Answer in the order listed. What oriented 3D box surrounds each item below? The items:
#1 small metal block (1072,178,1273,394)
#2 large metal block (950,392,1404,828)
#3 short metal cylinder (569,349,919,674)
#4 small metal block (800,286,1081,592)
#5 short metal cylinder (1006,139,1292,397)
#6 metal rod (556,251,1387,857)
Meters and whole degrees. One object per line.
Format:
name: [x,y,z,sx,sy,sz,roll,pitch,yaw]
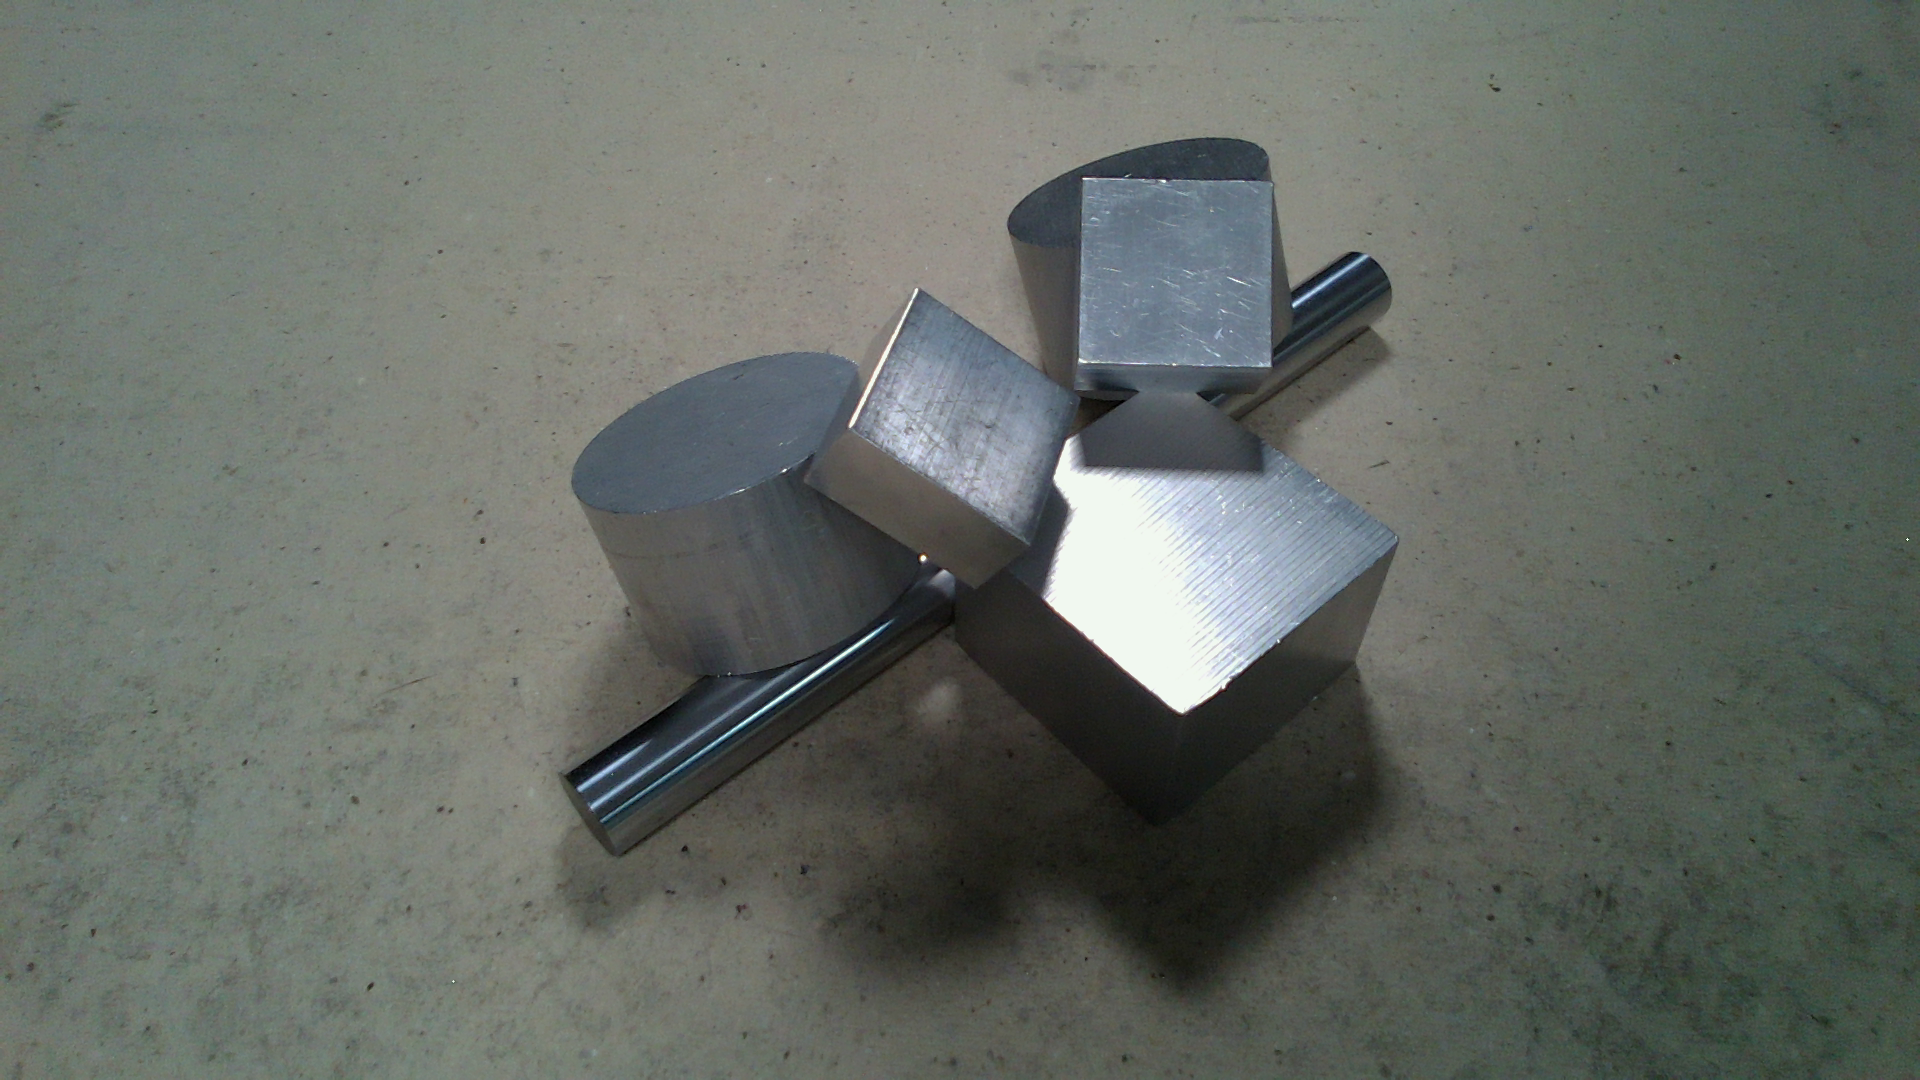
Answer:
small metal block: [0.056,-0.067,0.367,0.050,0.025,0.050,2,80,2]
large metal block: [0.054,0.013,0.362,0.080,0.050,0.080,-34,58,-25]
short metal cylinder: [-0.055,-0.009,0.365,0.080,0.050,0.080,-13,30,8]
small metal block: [-0.003,-0.024,0.331,0.050,0.025,0.050,33,51,-15]
short metal cylinder: [0.059,-0.086,0.429,0.080,0.050,0.080,-14,30,8]
metal rod: [0.021,-0.009,0.399,0.301,0.025,0.025,-34,58,-25]
